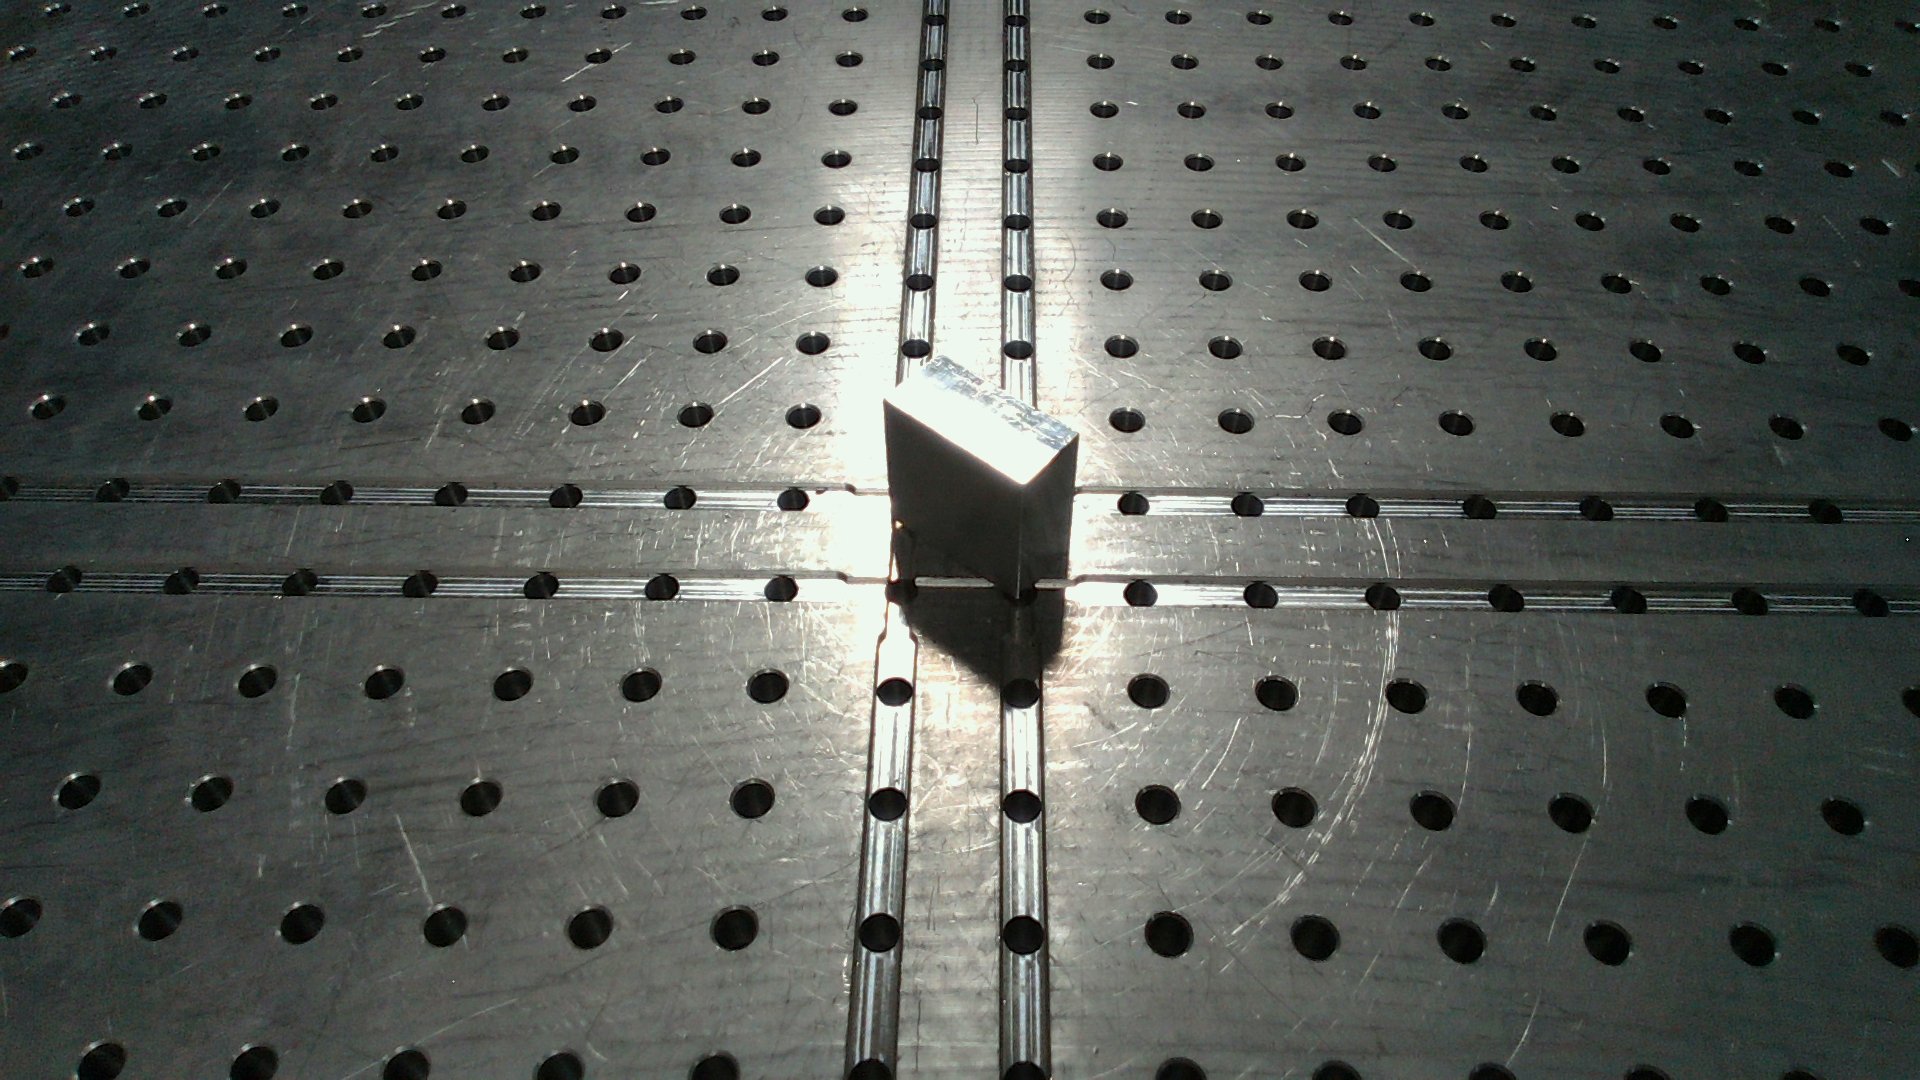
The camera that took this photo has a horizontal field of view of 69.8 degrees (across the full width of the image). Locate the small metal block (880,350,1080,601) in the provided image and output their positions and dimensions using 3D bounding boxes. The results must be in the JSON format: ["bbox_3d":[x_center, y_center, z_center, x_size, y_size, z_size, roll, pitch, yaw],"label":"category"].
[{"bbox_3d":[0.005,-0.018,0.393,0.050,0.050,0.025,33,57,25],"label":"small metal block"}]
